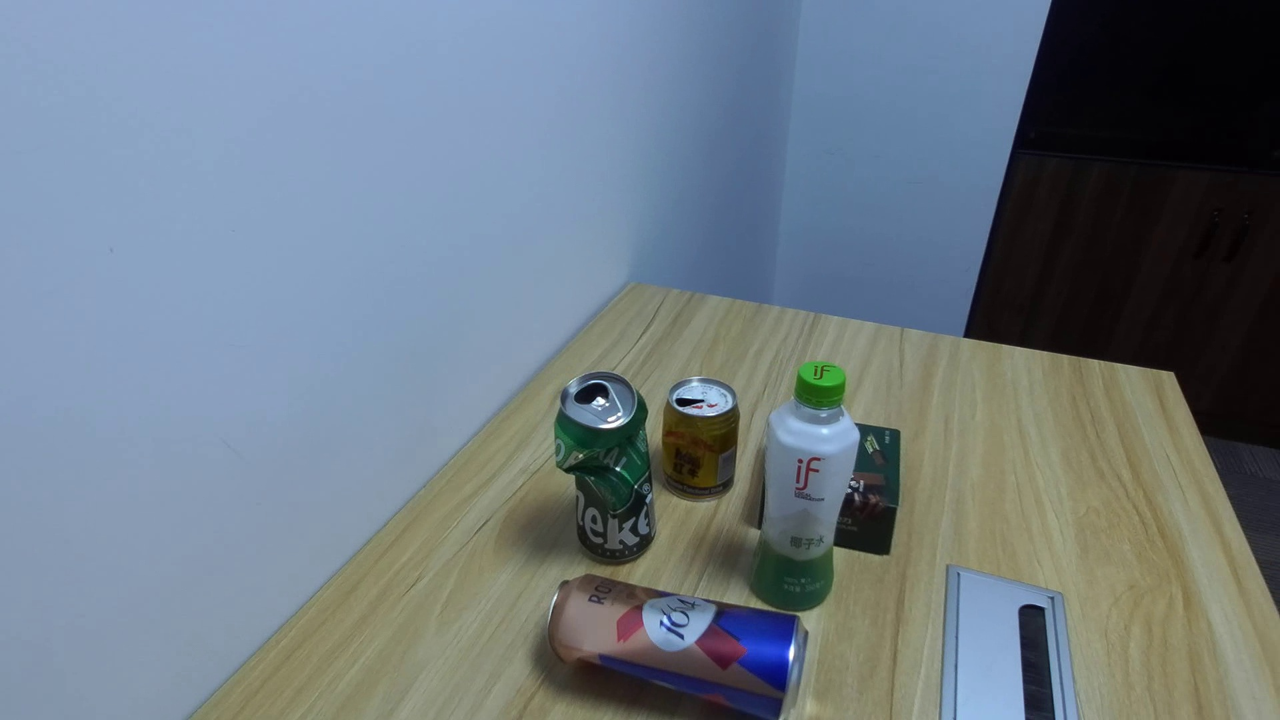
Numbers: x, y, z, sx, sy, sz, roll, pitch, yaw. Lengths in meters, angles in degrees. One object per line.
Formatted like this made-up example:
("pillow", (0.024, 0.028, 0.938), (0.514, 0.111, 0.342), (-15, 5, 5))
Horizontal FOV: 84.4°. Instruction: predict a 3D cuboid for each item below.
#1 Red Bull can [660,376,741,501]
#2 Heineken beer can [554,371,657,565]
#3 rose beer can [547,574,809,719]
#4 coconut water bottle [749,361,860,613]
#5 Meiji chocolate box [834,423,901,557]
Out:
("Red Bull can", (0.053, 0.069, 0.620), (0.069, 0.092, 0.069), (0, 32, 0))
("Heineken beer can", (-0.024, 0.083, 0.542), (0.067, 0.159, 0.078), (-5, 37, -2))
("rose beer can", (0.023, 0.181, 0.461), (0.167, 0.069, 0.070), (8, 51, 16))
("coconut water bottle", (0.116, 0.090, 0.496), (0.063, 0.189, 0.063), (0, 30, 0))
("Meiji chocolate box", (0.165, 0.102, 0.609), (0.109, 0.056, 0.110), (8, 29, 16))
